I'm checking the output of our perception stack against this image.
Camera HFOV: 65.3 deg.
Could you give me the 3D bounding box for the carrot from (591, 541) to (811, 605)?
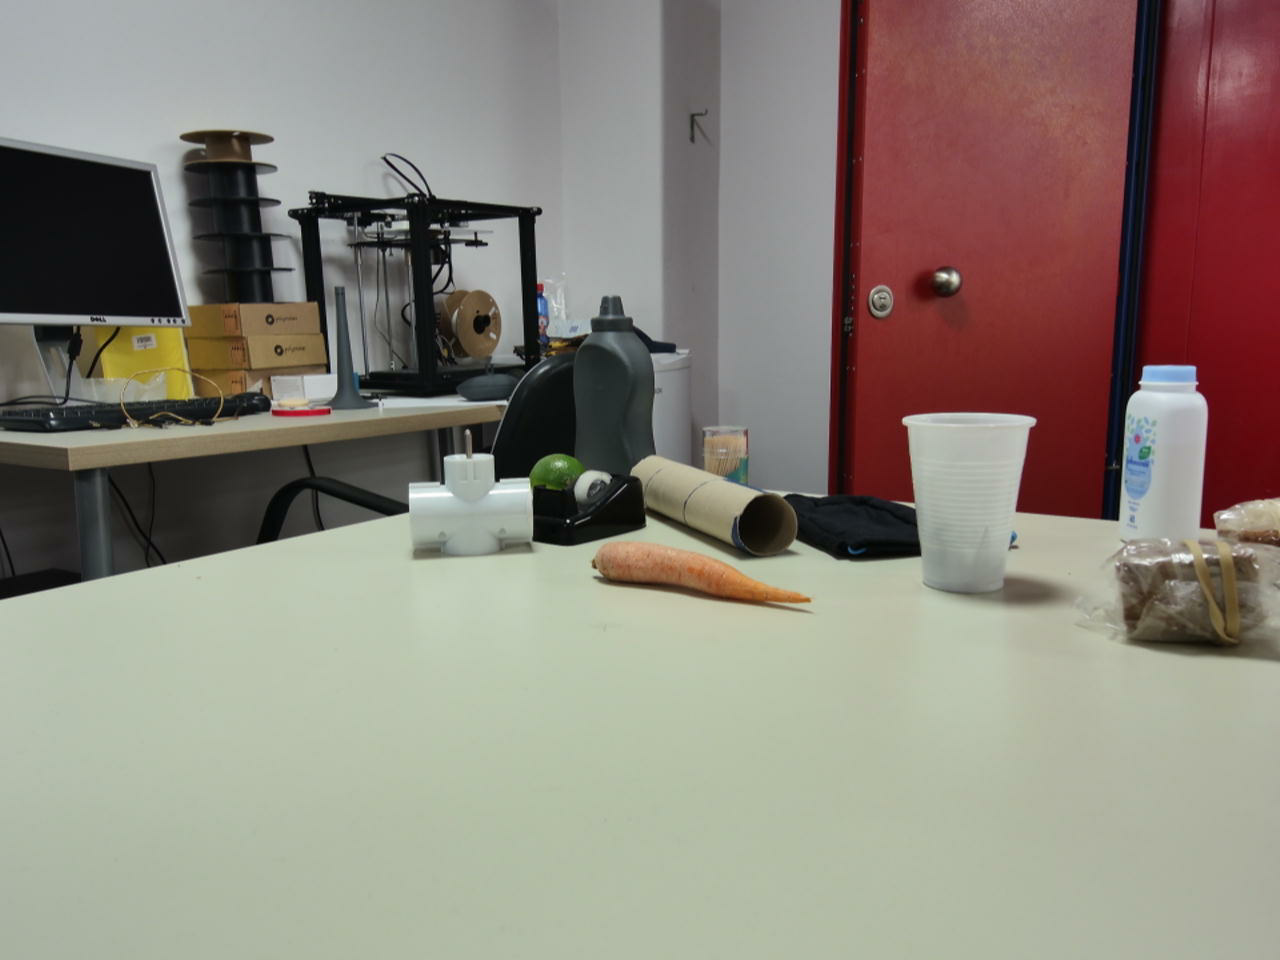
[{"bbox_3d":[0.035,0.058,0.634,0.163,0.029,0.031,6,9,34],"label":"carrot"}]
